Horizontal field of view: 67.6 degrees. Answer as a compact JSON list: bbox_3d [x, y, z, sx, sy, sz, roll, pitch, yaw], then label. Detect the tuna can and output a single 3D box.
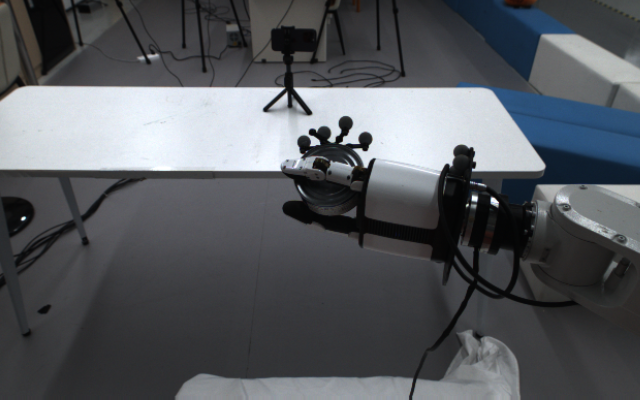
[{"bbox_3d":[0.014,-0.025,0.591,0.085,0.034,0.085,-6,61,10],"label":"tuna can"}]
